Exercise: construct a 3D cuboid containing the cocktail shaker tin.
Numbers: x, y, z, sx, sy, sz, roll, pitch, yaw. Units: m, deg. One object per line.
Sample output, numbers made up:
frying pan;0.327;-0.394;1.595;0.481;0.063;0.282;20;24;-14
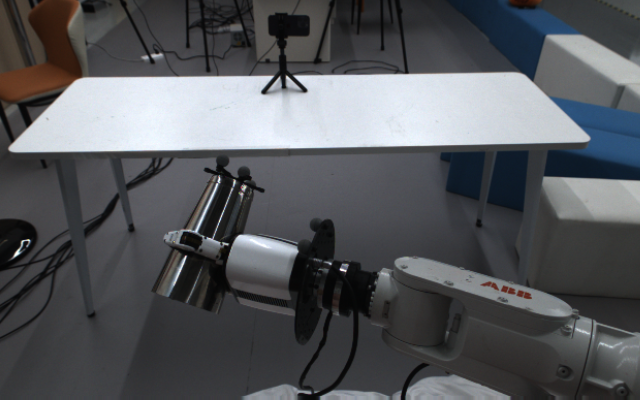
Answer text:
cocktail shaker tin;-0.148;0.058;0.649;0.093;0.093;0.170;14;73;16
